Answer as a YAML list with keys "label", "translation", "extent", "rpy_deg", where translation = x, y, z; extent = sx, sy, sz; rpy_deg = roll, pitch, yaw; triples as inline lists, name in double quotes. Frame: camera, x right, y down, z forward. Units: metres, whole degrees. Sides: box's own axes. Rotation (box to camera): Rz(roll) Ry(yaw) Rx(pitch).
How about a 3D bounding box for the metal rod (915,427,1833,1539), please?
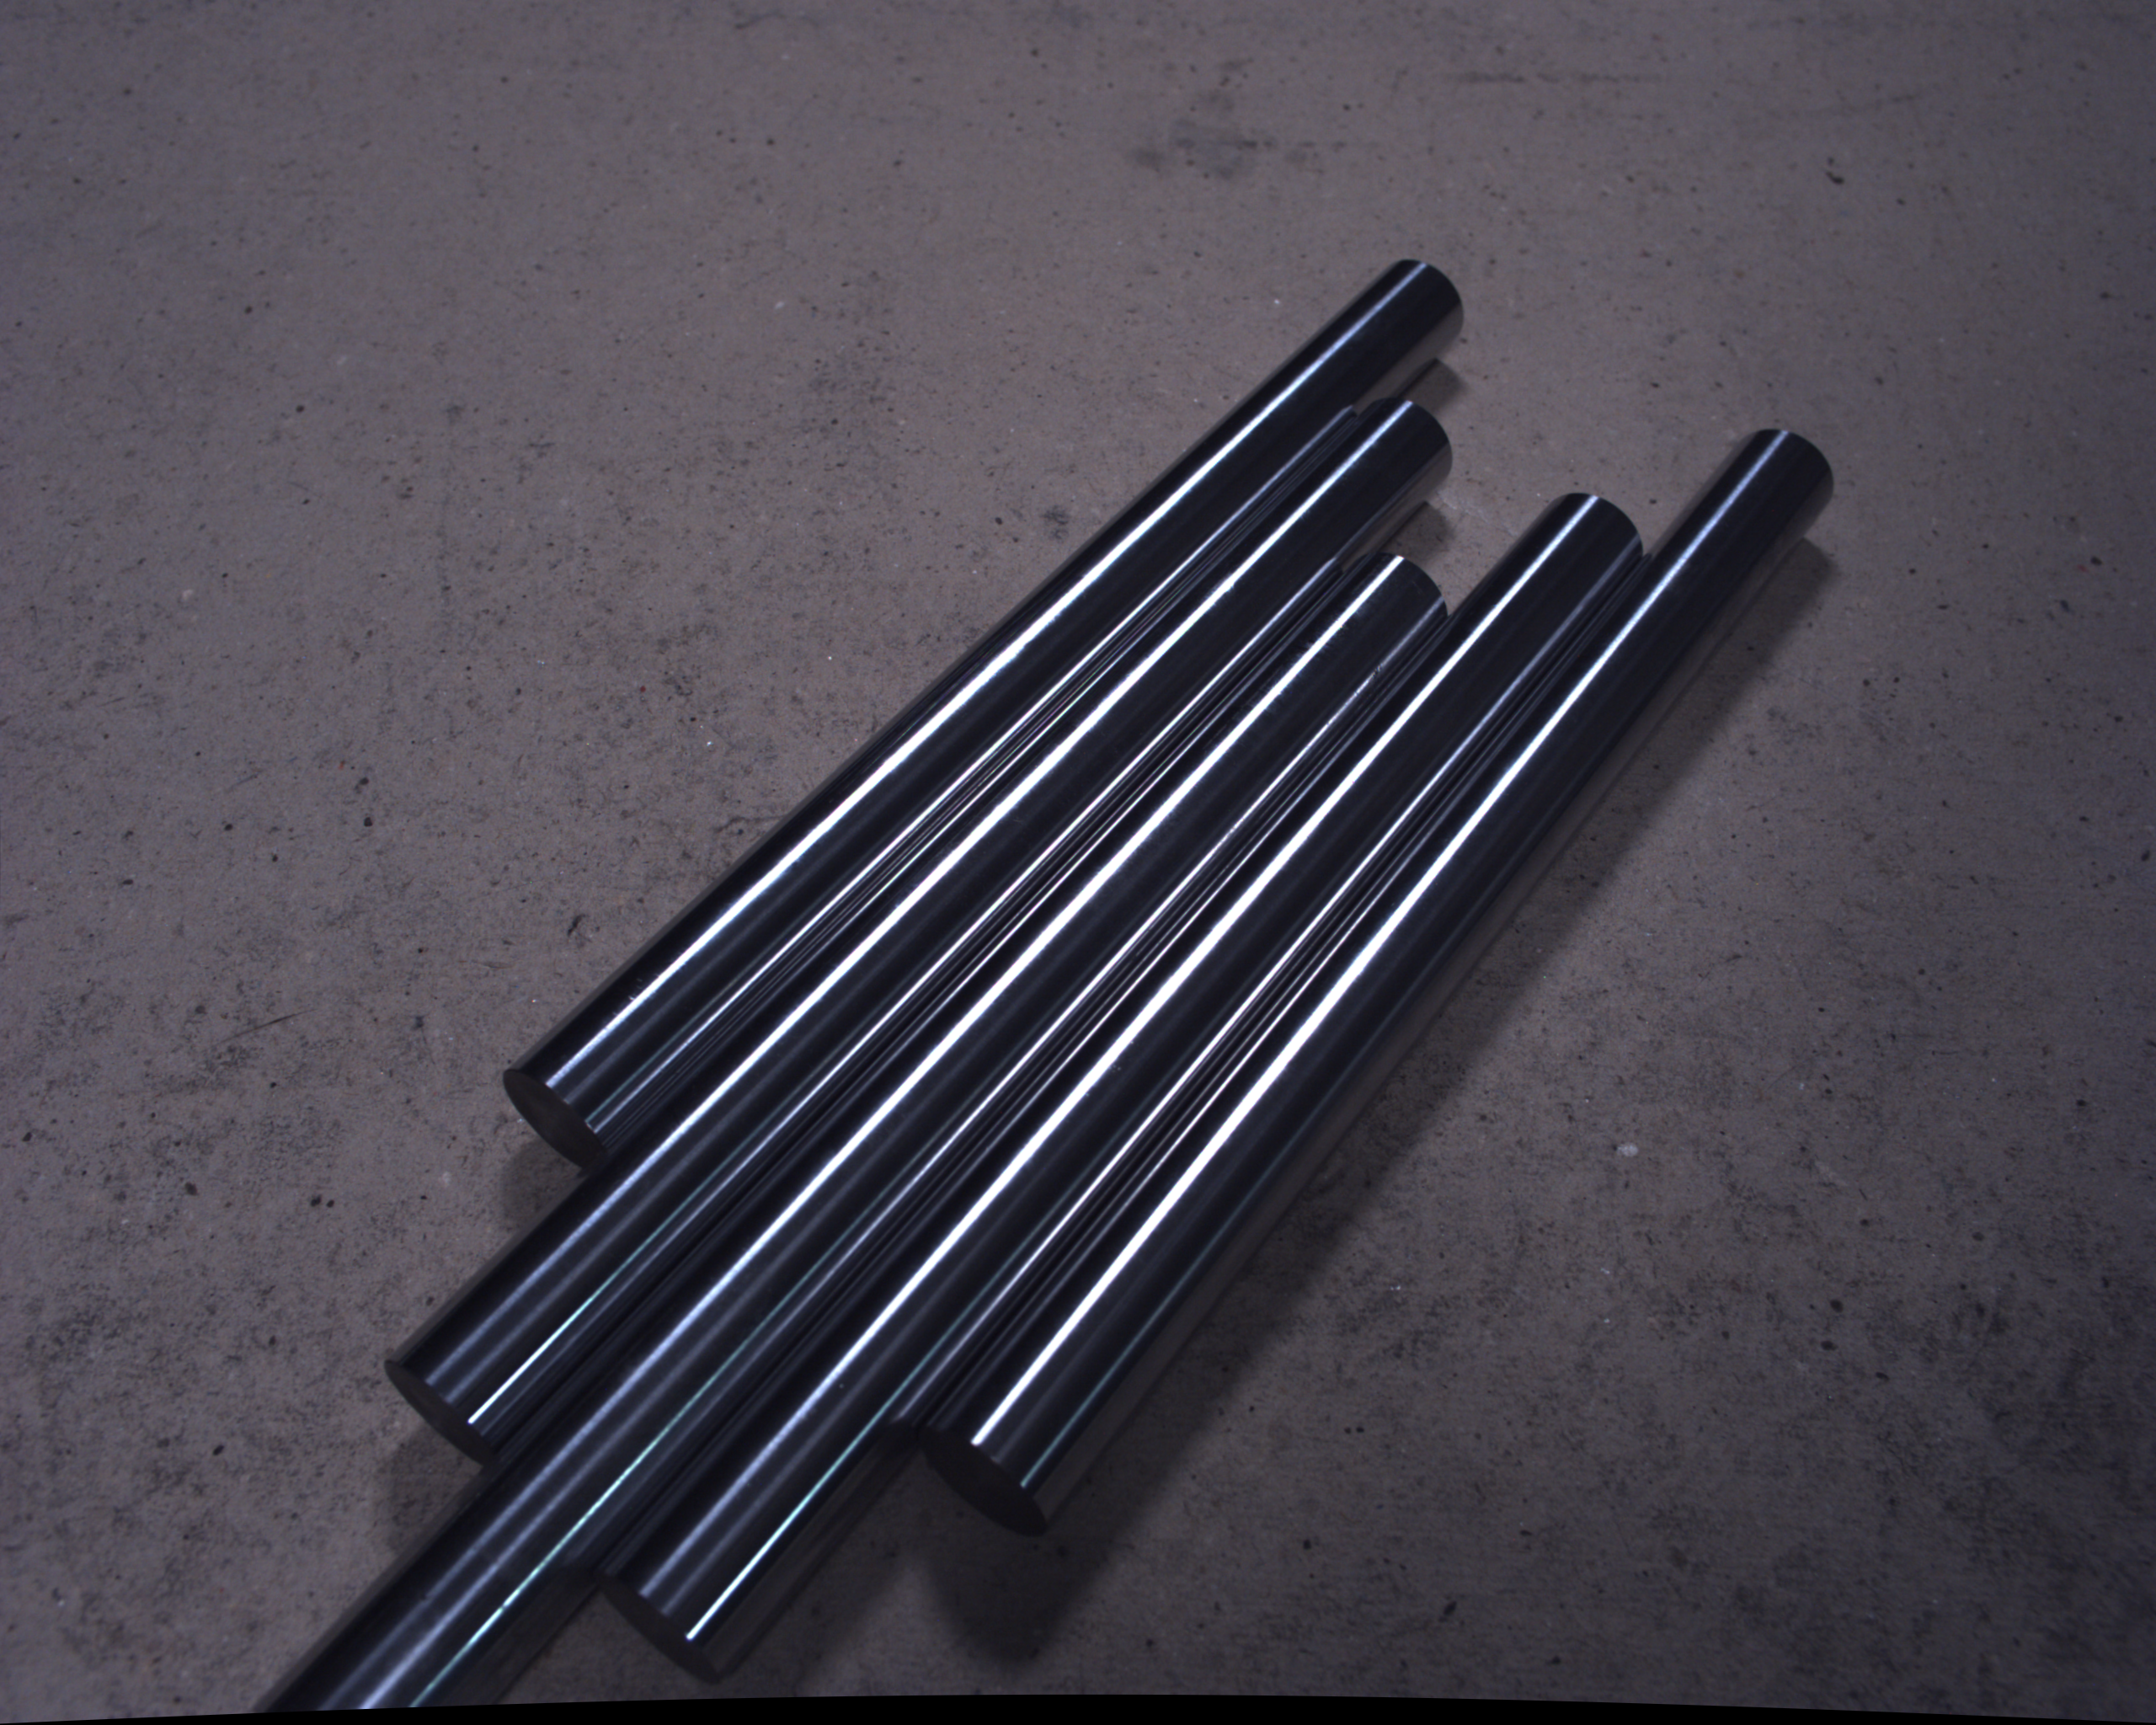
- label: "metal rod"
  translation: [0.073, 0.003, 0.402]
  extent: [0.025, 0.025, 0.301]
  rpy_deg: [29, 56, 22]

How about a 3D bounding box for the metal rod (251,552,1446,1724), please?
- label: "metal rod"
  translation: [-0.019, 0.036, 0.374]
  extent: [0.025, 0.025, 0.301]
  rpy_deg: [29, 56, 22]

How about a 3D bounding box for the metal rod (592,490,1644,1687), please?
- label: "metal rod"
  translation: [0.026, 0.021, 0.387]
  extent: [0.025, 0.025, 0.301]
  rpy_deg: [29, 56, 22]

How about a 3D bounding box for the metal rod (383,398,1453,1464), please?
- label: "metal rod"
  translation: [-0.012, -0.005, 0.409]
  extent: [0.025, 0.025, 0.301]
  rpy_deg: [29, 56, 22]

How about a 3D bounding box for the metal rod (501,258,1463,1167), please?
- label: "metal rod"
  translation: [-0.003, -0.047, 0.444]
  extent: [0.025, 0.025, 0.301]
  rpy_deg: [29, 56, 22]
